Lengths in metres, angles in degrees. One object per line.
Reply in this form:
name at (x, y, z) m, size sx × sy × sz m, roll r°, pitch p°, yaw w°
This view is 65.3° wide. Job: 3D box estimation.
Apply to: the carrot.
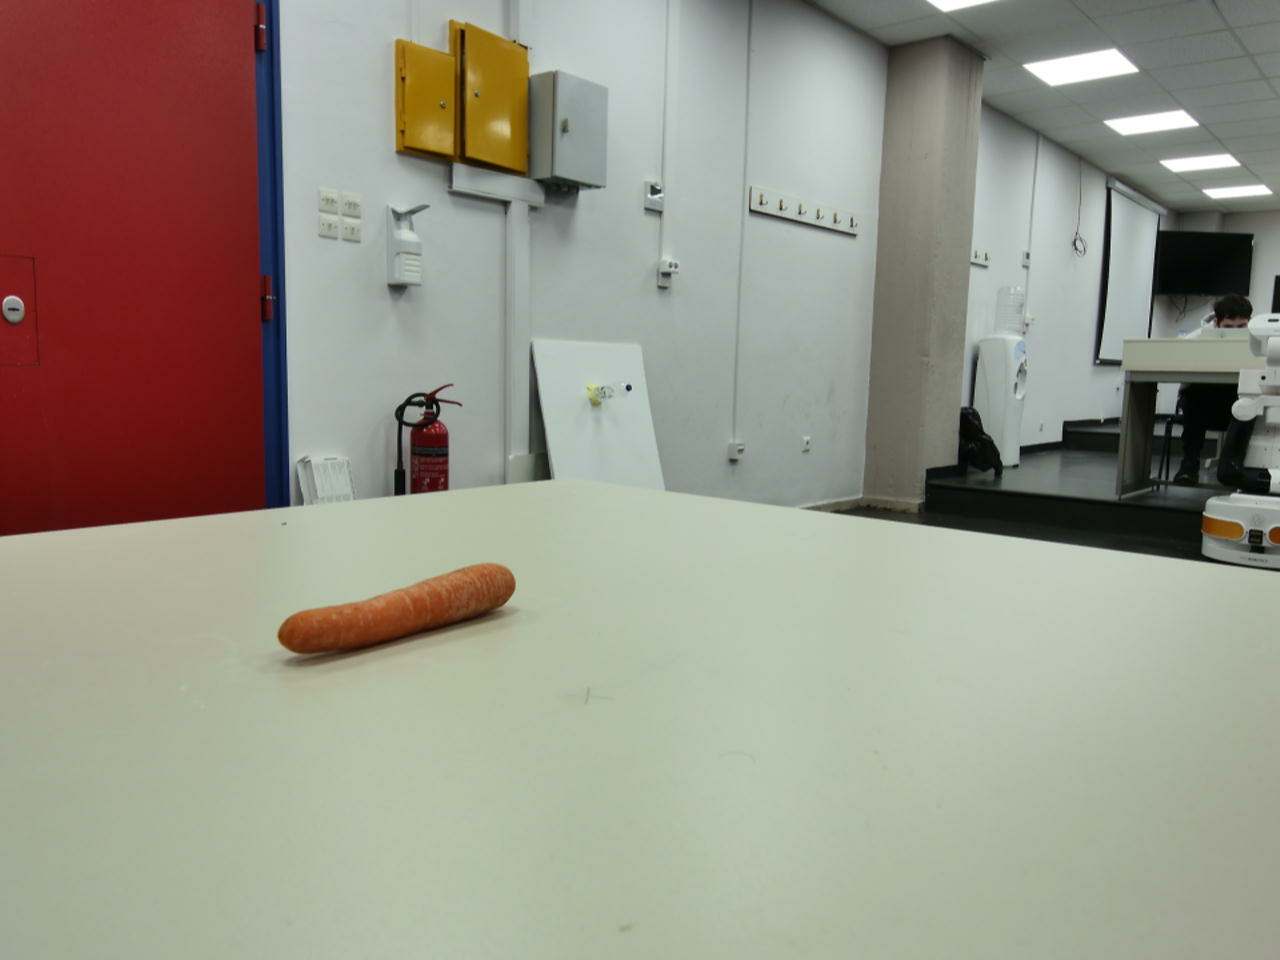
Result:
carrot at (-0.100, 0.054, 0.430) m, size 0.024 × 0.023 × 0.122 m, roll 3°, pitch 6°, yaw 37°
